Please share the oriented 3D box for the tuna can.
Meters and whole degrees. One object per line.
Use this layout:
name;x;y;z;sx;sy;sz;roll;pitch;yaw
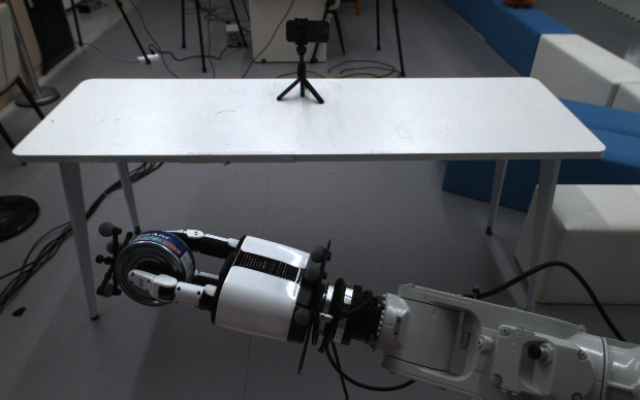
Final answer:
tuna can;-0.190;0.081;0.566;0.085;0.085;0.034;4;19;3
